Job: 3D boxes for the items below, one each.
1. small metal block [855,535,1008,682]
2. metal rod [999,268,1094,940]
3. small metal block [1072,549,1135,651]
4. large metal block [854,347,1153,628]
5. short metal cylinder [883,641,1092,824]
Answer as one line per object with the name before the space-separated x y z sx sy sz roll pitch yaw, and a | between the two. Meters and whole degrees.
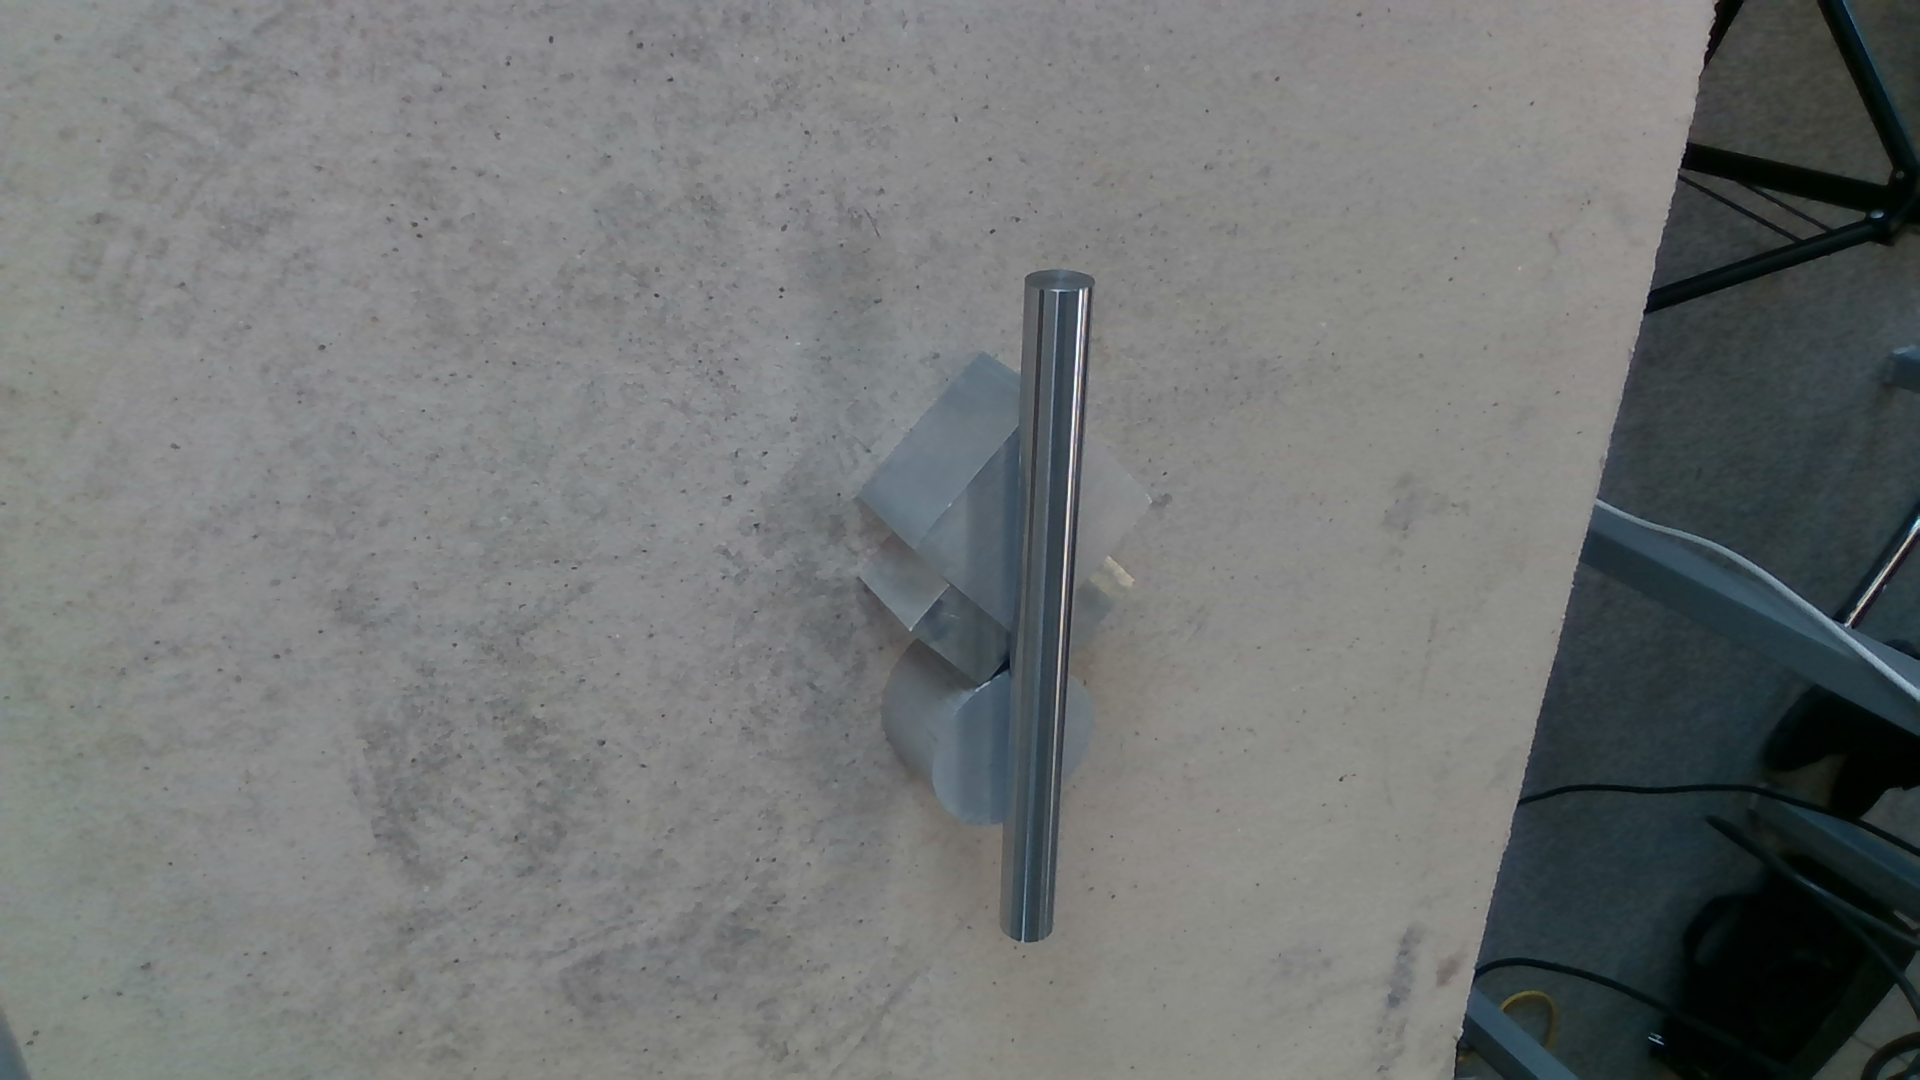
small metal block | -0.009 0.027 0.575 0.025 0.050 0.050 -49 129 1
metal rod | 0.033 0.040 0.556 0.025 0.025 0.301 -14 121 -25
small metal block | 0.039 0.019 0.600 0.050 0.050 0.025 -49 129 1
large metal block | 0.018 -0.018 0.565 0.080 0.050 0.080 -49 129 0
short metal cylinder | 0.011 0.078 0.614 0.080 0.050 0.080 -14 122 -25
